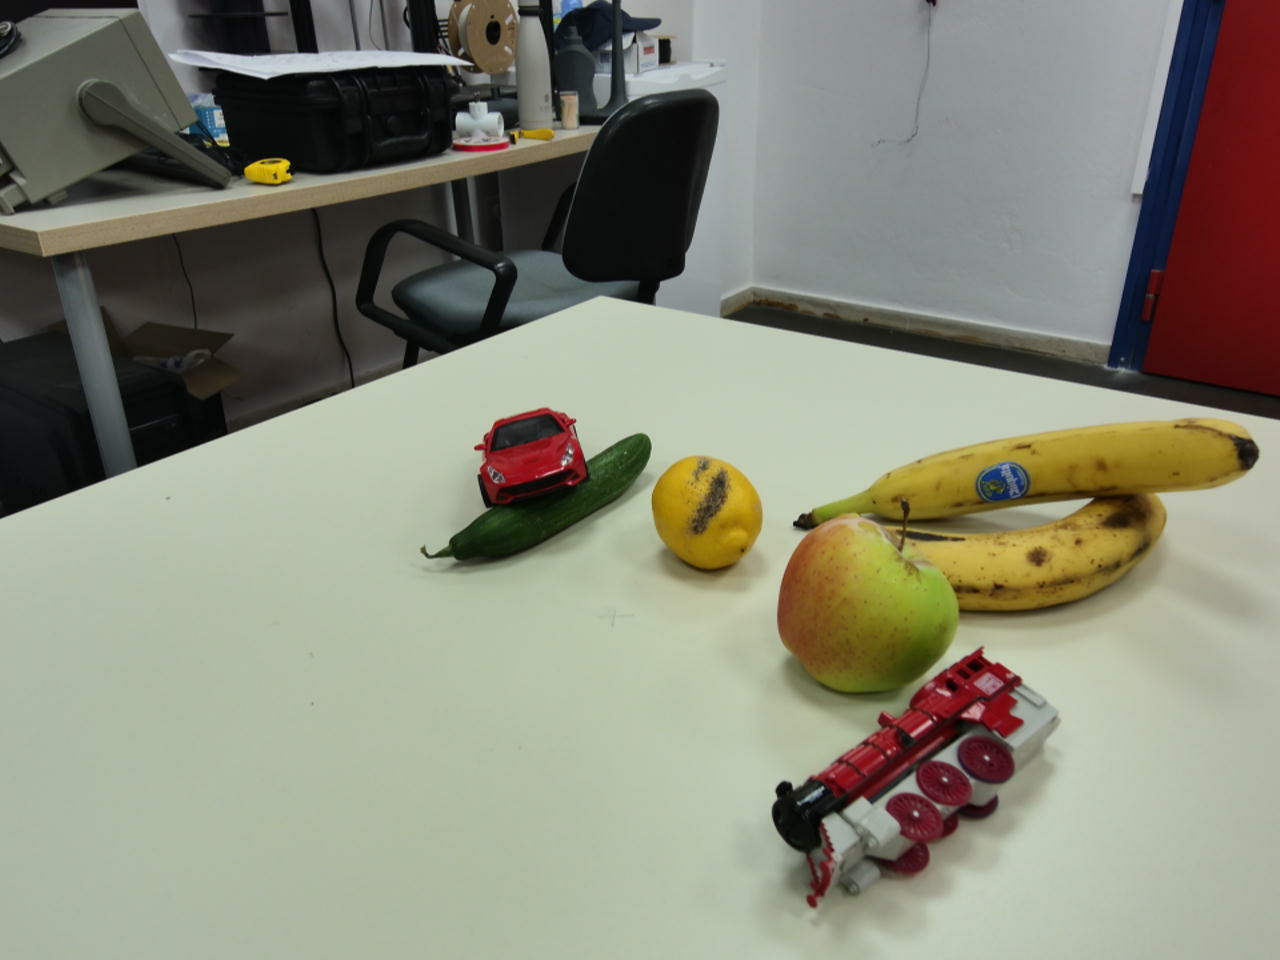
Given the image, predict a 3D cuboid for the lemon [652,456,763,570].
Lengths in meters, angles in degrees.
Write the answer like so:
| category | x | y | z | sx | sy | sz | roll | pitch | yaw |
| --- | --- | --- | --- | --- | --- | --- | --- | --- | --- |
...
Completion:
| category | x | y | z | sx | sy | sz | roll | pitch | yaw |
| --- | --- | --- | --- | --- | --- | --- | --- | --- | --- |
| lemon | 0.036 | 0.017 | 0.528 | 0.061 | 0.056 | 0.058 | 14 | 27 | 26 |
